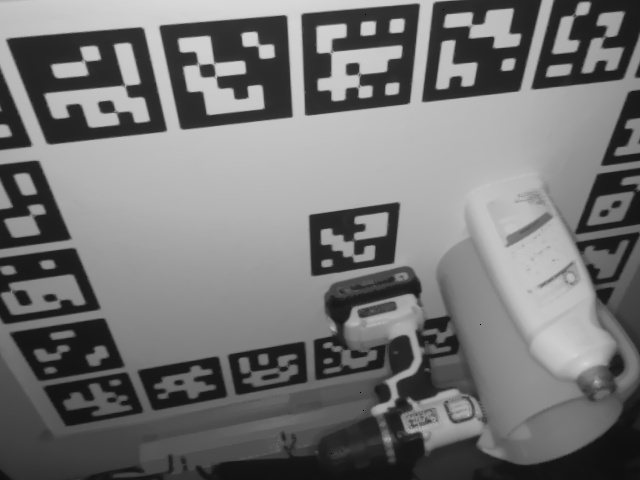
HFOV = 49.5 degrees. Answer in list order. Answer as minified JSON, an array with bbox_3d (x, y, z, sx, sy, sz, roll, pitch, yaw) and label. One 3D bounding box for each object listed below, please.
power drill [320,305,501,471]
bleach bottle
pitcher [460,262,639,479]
[{"bbox_3d":[0.086,0.160,0.758,0.185,0.188,0.057,-8,129,-1],"label":"power drill"},{"bbox_3d":[0.266,0.066,0.686,0.103,0.251,0.067,-13,132,-3],"label":"bleach bottle"},{"bbox_3d":[0.252,0.130,0.765,0.188,0.243,0.133,-28,130,9],"label":"pitcher"}]
